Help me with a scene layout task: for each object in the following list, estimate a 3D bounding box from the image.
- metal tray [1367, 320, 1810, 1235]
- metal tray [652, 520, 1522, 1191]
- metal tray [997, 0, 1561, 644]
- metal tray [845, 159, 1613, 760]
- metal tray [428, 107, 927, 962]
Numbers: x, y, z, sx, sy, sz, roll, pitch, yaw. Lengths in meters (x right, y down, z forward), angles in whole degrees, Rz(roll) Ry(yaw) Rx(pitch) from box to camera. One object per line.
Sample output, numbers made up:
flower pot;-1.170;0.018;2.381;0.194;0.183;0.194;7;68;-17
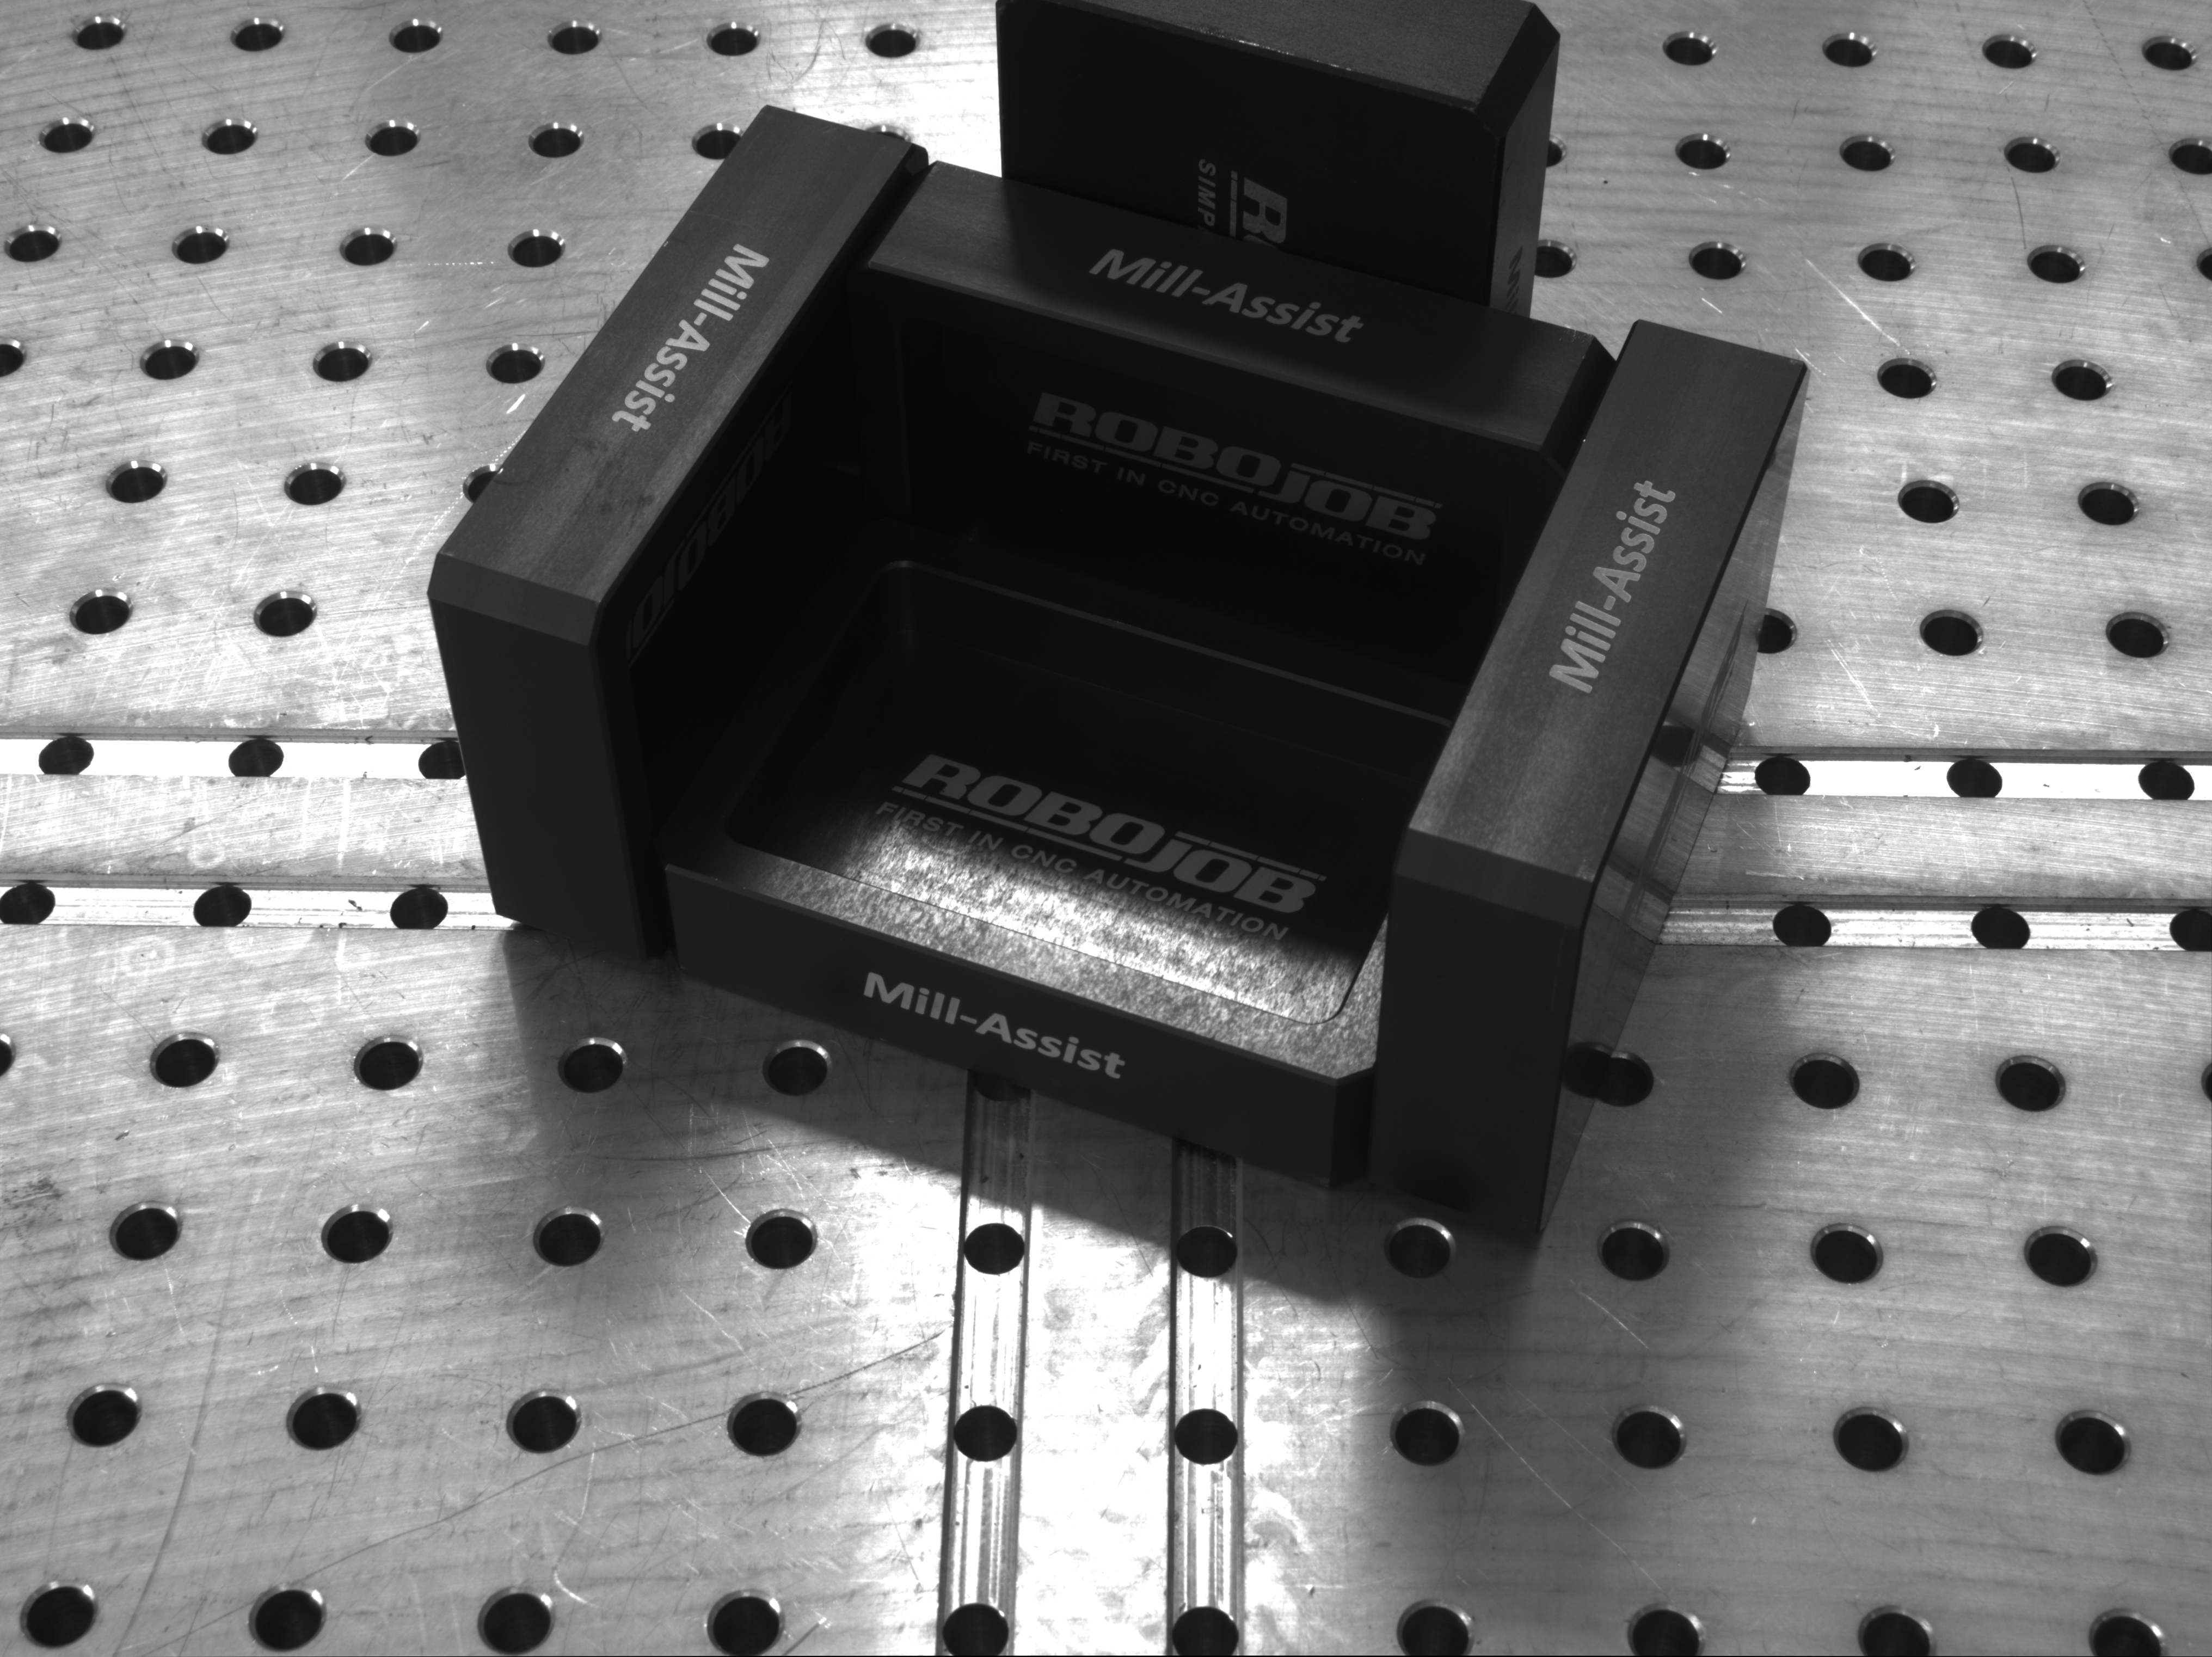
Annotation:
metal tray;0.081;-0.010;0.610;0.030;0.090;0.130;17;52;14
metal tray;-0.001;0.002;0.640;0.130;0.030;0.090;17;52;14
metal tray;0.029;-0.096;0.657;0.090;0.130;0.030;18;53;14
metal tray;0.021;-0.061;0.654;0.130;0.090;0.030;17;52;14
metal tray;-0.070;-0.053;0.647;0.030;0.090;0.130;17;52;14
